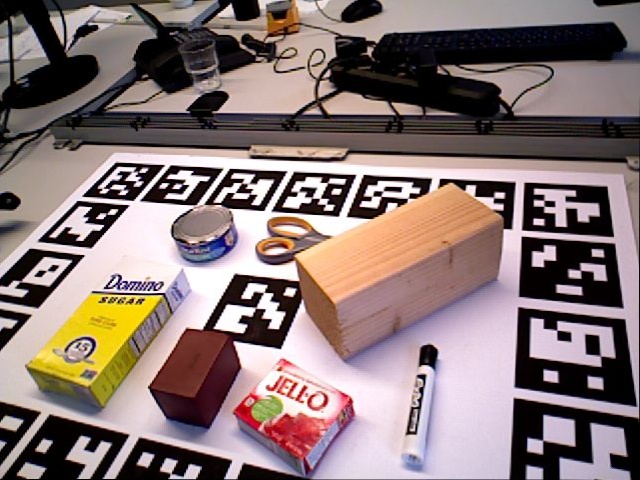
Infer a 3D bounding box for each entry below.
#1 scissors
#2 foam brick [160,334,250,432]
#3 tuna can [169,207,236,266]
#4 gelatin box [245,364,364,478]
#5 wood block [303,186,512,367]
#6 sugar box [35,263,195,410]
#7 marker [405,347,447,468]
[{"bbox_3d":[0.010,0.011,0.690,0.204,0.016,0.086,8,46,26],"label":"scissors"},{"bbox_3d":[-0.112,0.142,0.543,0.053,0.052,0.076,6,45,20],"label":"foam brick"},{"bbox_3d":[-0.158,-0.005,0.734,0.086,0.034,0.084,-8,42,6],"label":"tuna can"},{"bbox_3d":[-0.014,0.167,0.512,0.090,0.031,0.072,20,52,32],"label":"gelatin box"},{"bbox_3d":[0.098,0.036,0.587,0.203,0.092,0.089,-26,42,-15],"label":"wood block"},{"bbox_3d":[-0.230,0.104,0.630,0.093,0.046,0.172,8,46,22],"label":"sugar box"},{"bbox_3d":[0.101,0.151,0.505,0.020,0.020,0.118,6,47,20],"label":"marker"}]
